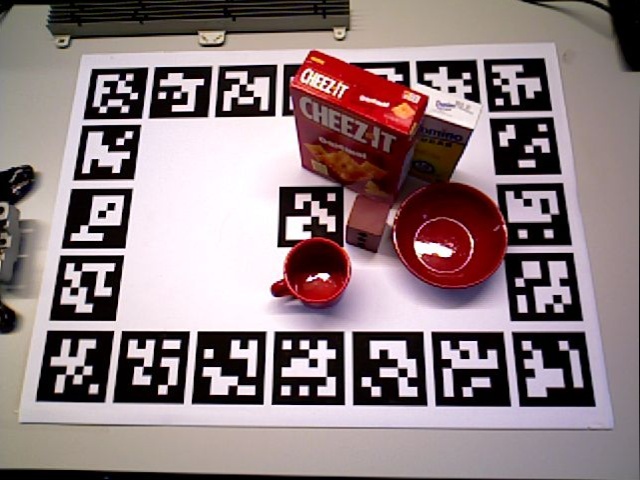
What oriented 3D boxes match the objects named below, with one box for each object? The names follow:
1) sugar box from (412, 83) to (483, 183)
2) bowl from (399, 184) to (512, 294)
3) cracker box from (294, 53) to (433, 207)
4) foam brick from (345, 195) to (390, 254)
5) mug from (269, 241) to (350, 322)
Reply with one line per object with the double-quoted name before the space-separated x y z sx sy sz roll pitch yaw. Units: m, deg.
"sugar box" 0.161 -0.148 0.753 0.093 0.178 0.045 20 72 10
"bowl" 0.188 0.007 0.754 0.161 0.056 0.160 -1 72 3
"cracker box" 0.050 -0.142 0.739 0.164 0.216 0.071 29 71 11
"foam brick" 0.067 -0.021 0.775 0.053 0.079 0.051 15 71 8
"mug" -0.017 0.063 0.741 0.117 0.082 0.092 -9 63 2
